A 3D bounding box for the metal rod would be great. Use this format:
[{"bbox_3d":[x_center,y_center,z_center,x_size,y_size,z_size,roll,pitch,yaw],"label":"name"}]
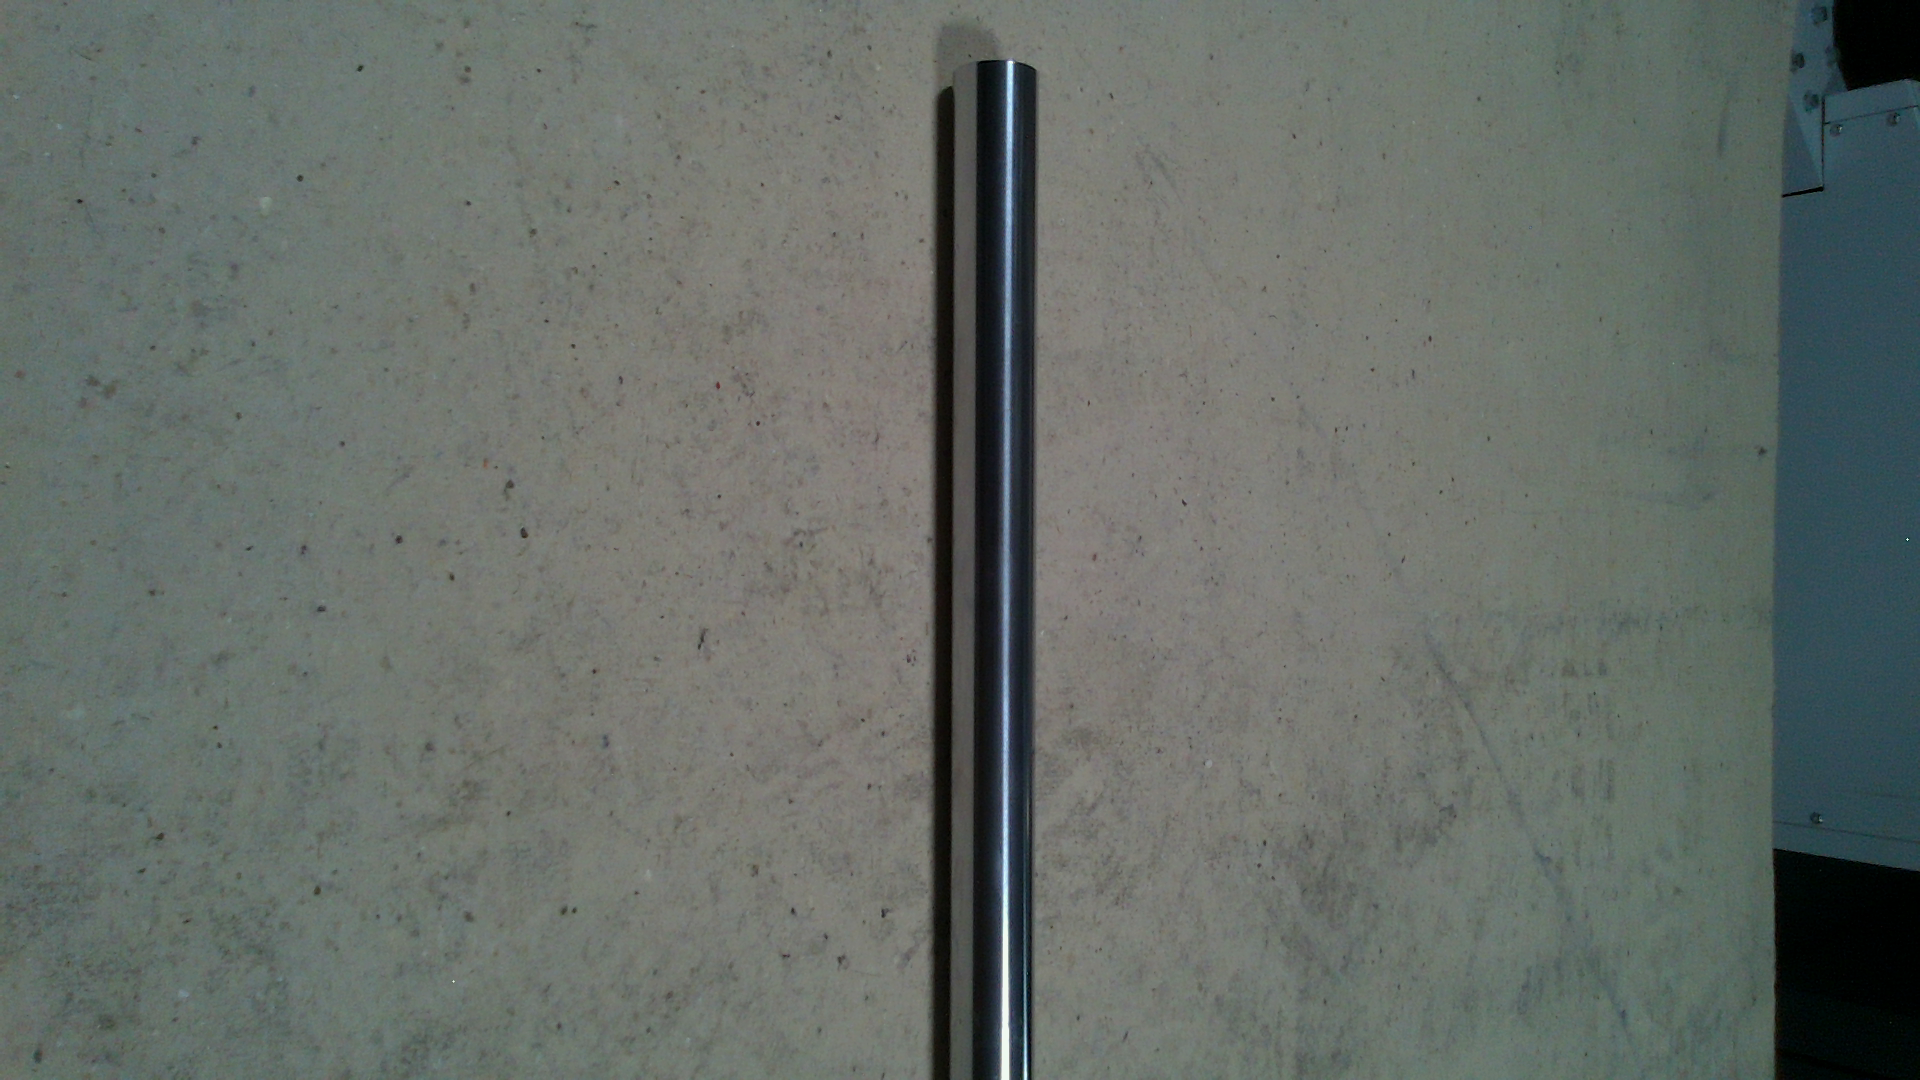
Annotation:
[{"bbox_3d":[0.009,0.017,0.396,0.025,0.025,0.300,0,90,-40],"label":"metal rod"}]
